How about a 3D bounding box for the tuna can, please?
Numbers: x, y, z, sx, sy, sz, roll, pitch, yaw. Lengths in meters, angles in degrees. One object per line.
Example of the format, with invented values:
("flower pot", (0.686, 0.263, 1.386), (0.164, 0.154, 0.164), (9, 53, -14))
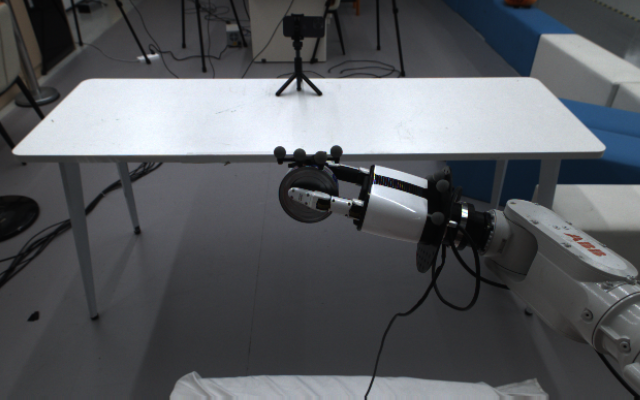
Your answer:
("tuna can", (-0.013, -0.007, 0.693), (0.085, 0.085, 0.034), (4, 17, 3))
